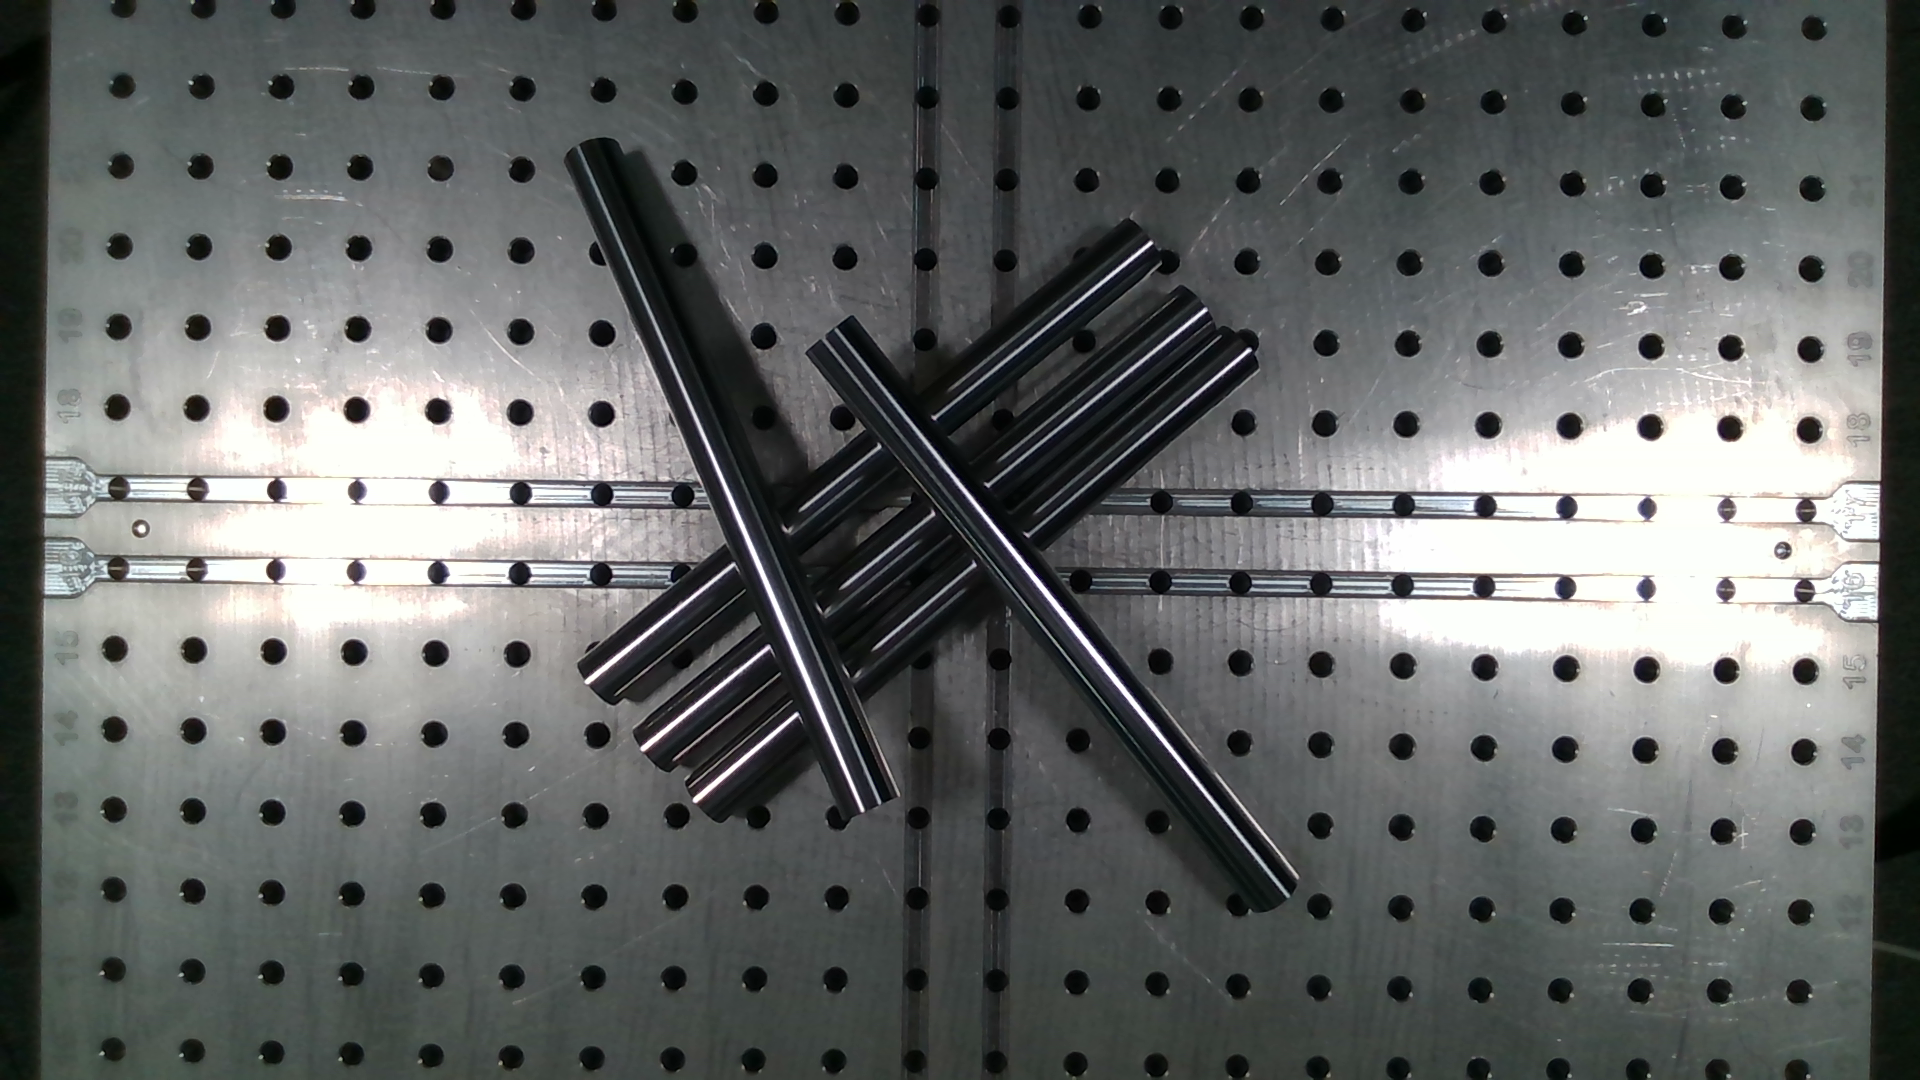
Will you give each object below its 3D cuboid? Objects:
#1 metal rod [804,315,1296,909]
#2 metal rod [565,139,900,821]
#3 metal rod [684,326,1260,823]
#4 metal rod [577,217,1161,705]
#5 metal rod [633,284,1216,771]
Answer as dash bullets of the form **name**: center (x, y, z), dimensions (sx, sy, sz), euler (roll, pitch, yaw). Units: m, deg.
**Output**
- **metal rod**: center (0.040, 0.034, 0.569), dimensions (0.025, 0.025, 0.300), euler (-39, 98, 0)
- **metal rod**: center (-0.096, -0.029, 0.568), dimensions (0.025, 0.025, 0.300), euler (-24, 82, 0)
- **metal rod**: center (0.005, 0.015, 0.589), dimensions (0.300, 0.025, 0.025), euler (-40, 90, 0)
- **metal rod**: center (-0.039, -0.033, 0.589), dimensions (0.300, 0.025, 0.025), euler (-39, 90, 0)
- **metal rod**: center (-0.015, -0.005, 0.589), dimensions (0.300, 0.025, 0.025), euler (-39, 90, 0)
